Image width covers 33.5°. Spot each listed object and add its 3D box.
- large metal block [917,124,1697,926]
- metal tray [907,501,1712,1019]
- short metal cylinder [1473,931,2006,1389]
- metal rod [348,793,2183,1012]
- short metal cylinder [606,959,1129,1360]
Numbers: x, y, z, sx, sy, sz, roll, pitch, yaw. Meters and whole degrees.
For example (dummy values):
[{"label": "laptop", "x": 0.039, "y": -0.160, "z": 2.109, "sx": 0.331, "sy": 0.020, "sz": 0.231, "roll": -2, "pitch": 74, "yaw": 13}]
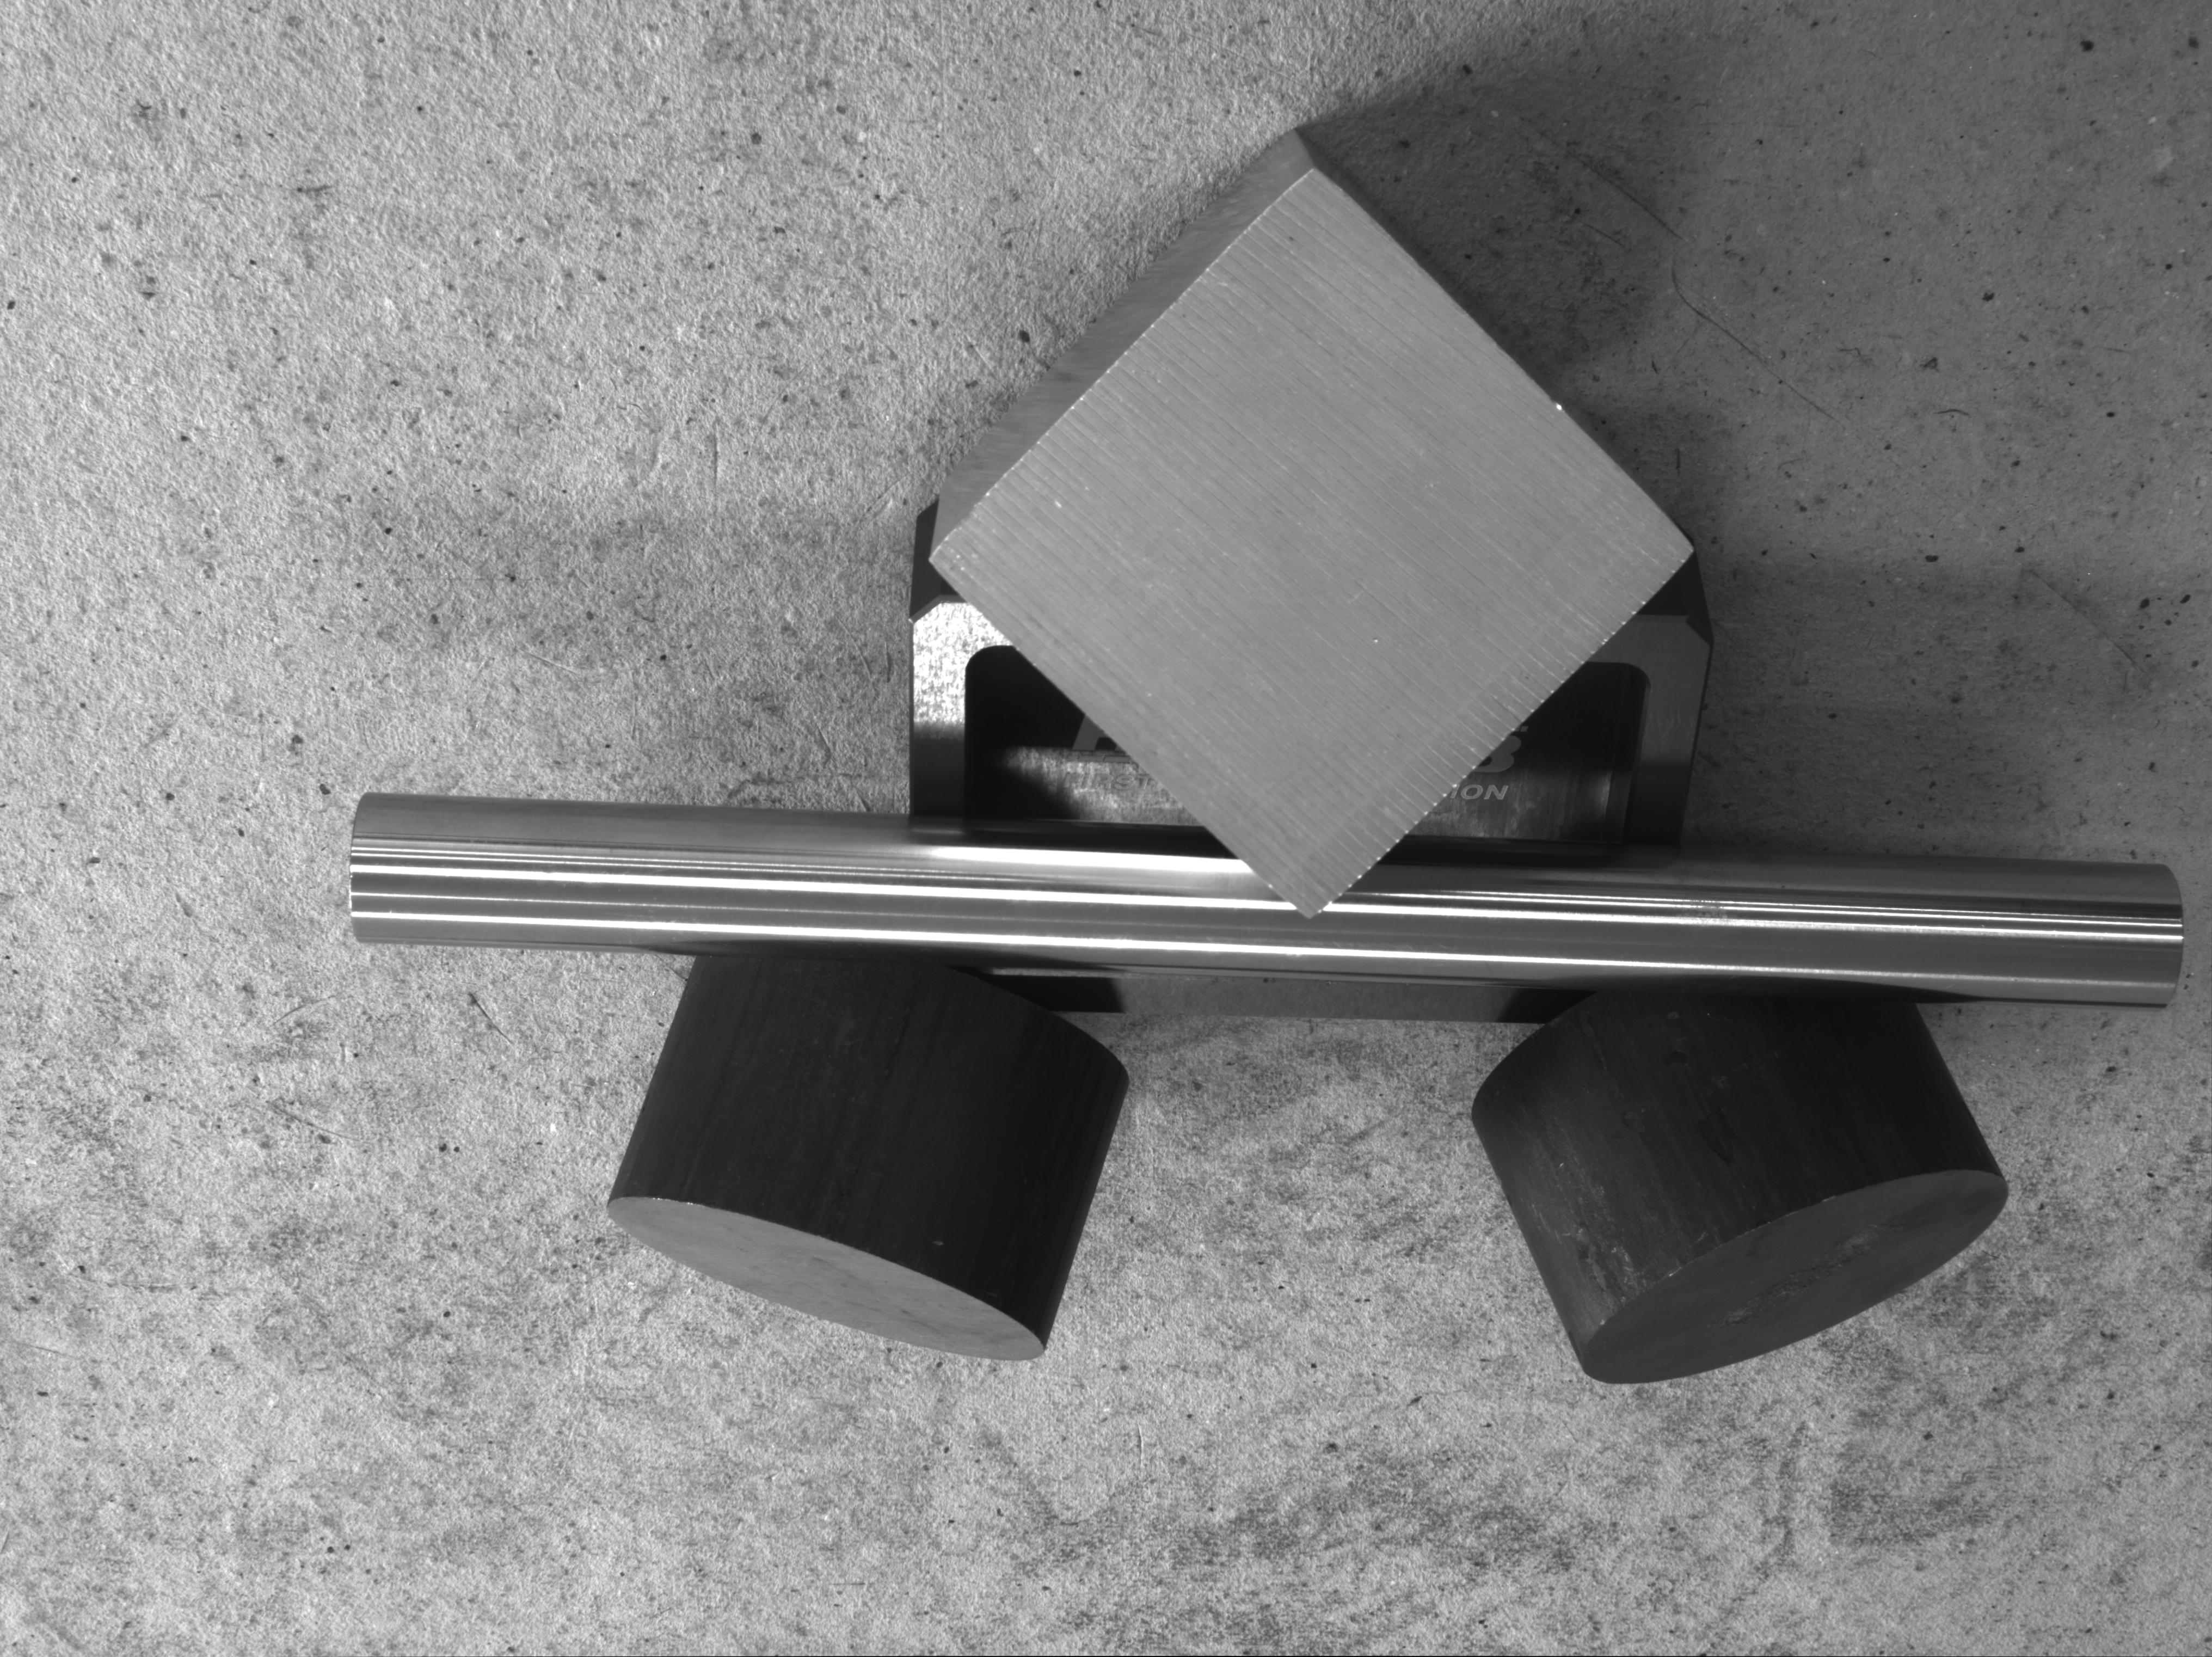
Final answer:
[{"label": "large metal block", "x": 0.029, "y": -0.047, "z": 0.556, "sx": 0.080, "sy": 0.050, "sz": 0.080, "roll": 43, "pitch": 102, "yaw": -12}, {"label": "metal tray", "x": 0.032, "y": -0.011, "z": 0.628, "sx": 0.130, "sy": 0.030, "sz": 0.090, "roll": 1, "pitch": 130, "yaw": -1}, {"label": "short metal cylinder", "x": 0.112, "y": 0.059, "z": 0.652, "sx": 0.080, "sy": 0.050, "sz": 0.080, "roll": -17, "pitch": 154, "yaw": -9}, {"label": "metal rod", "x": 0.027, "y": 0.012, "z": 0.611, "sx": 0.300, "sy": 0.025, "sz": 0.025, "roll": 2, "pitch": 130, "yaw": -2}, {"label": "short metal cylinder", "x": -0.041, "y": 0.056, "z": 0.647, "sx": 0.080, "sy": 0.050, "sz": 0.080, "roll": 16, "pitch": 162, "yaw": 6}]
